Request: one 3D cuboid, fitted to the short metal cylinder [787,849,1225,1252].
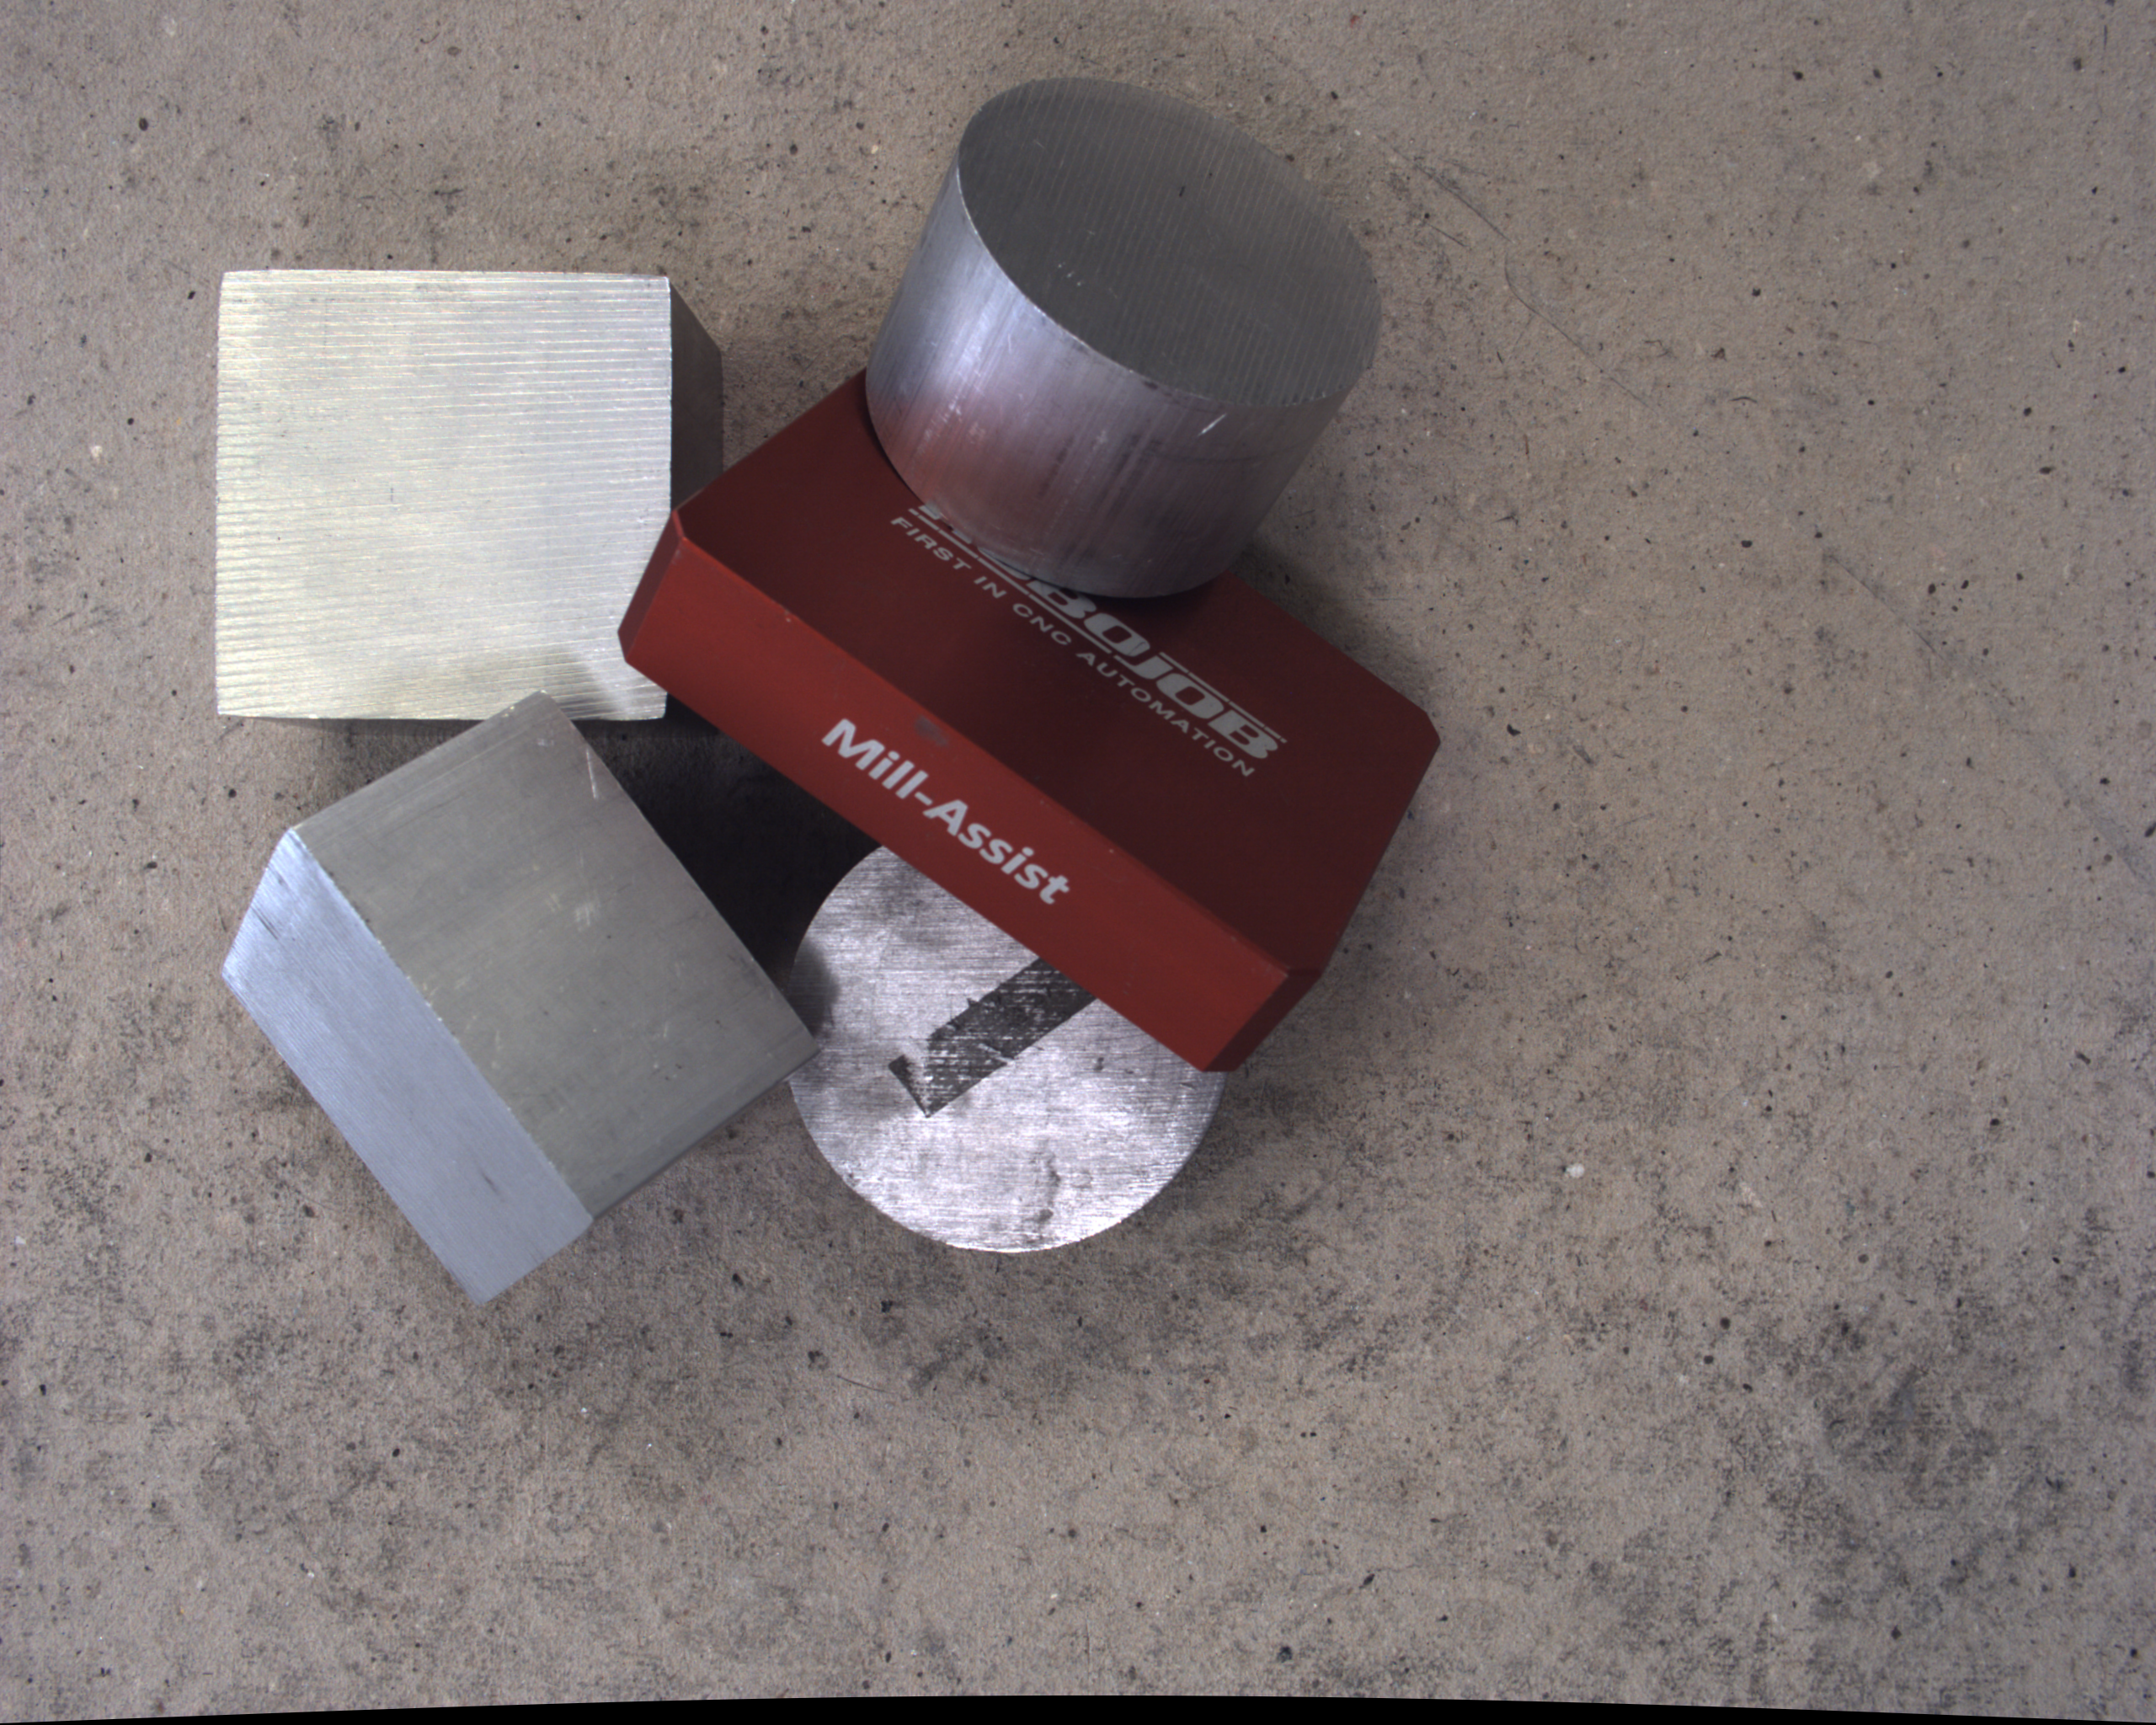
[{"bbox_3d":[-0.013,0.030,0.399,0.081,0.050,0.080,0,90,0],"label":"short metal cylinder"}]

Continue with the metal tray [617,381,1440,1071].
[{"bbox_3d":[-0.005,-0.032,0.380,0.130,0.090,0.030,36,130,0],"label":"metal tray"}]

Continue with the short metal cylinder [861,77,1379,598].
[{"bbox_3d":[0.007,-0.095,0.379,0.081,0.050,0.080,14,53,-18],"label":"short metal cylinder"}]

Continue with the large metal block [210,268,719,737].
[{"bbox_3d":[-0.113,-0.065,0.396,0.081,0.050,0.080,1,90,0],"label":"large metal block"}]

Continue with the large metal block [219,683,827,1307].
[{"bbox_3d":[-0.103,0.027,0.376,0.050,0.080,0.080,-38,91,-36],"label":"large metal block"}]
